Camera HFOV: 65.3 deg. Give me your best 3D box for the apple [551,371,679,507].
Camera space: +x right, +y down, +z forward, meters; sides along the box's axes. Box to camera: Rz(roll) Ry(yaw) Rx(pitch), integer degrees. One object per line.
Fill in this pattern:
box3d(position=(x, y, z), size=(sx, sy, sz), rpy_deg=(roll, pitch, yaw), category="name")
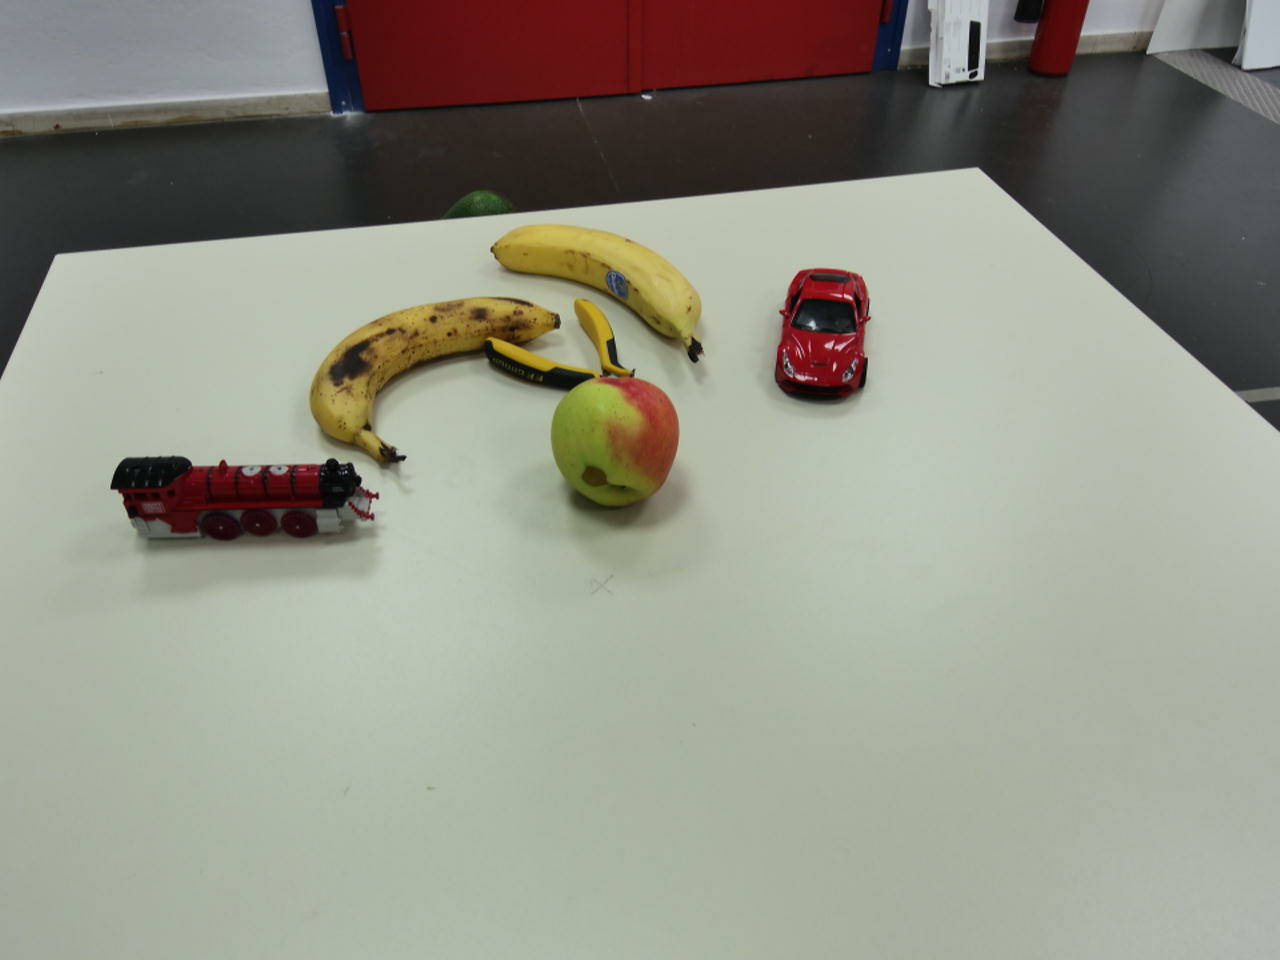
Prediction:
box3d(position=(-0.014, -0.023, 0.576), size=(0.075, 0.074, 0.075), rpy_deg=(-21, 44, -24), category="apple")
